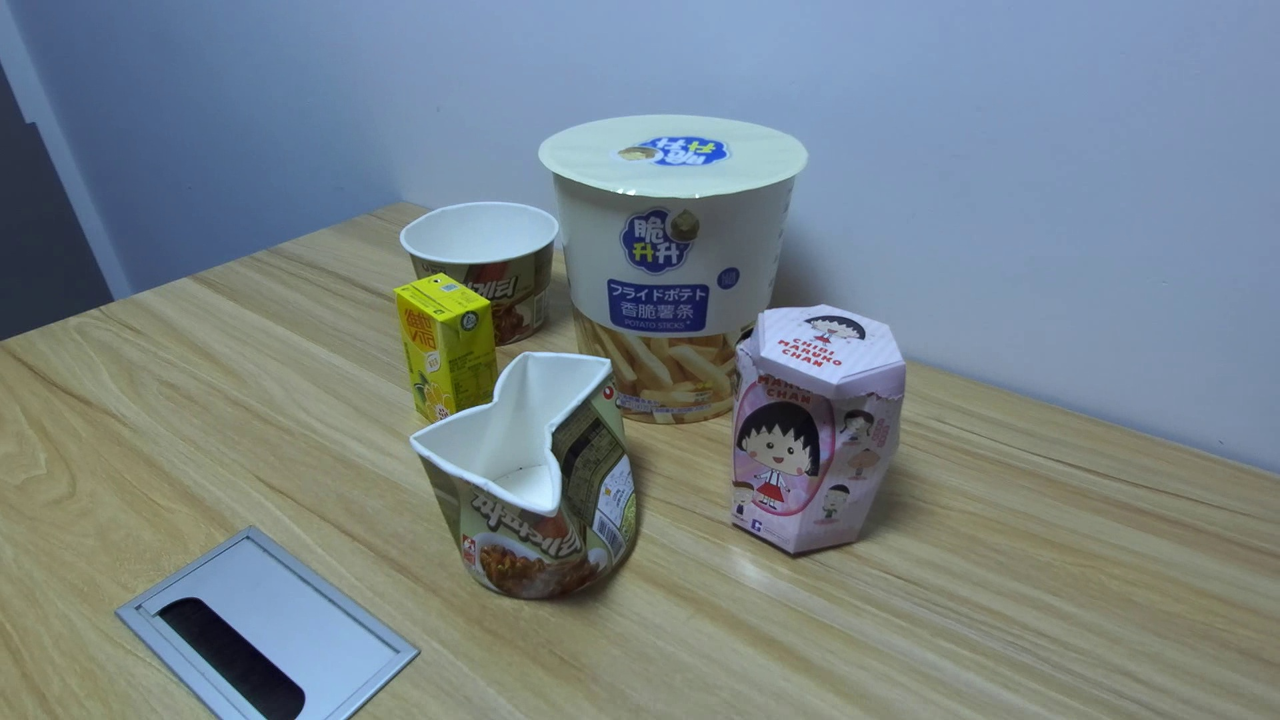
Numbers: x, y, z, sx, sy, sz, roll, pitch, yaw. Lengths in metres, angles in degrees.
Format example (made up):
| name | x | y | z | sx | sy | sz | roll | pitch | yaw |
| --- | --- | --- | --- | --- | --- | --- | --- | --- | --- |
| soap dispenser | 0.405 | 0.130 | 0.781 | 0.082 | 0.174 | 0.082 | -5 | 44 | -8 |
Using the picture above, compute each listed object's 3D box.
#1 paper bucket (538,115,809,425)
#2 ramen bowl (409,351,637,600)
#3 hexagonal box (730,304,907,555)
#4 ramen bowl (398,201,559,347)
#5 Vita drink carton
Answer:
| name | x | y | z | sx | sy | sz | roll | pitch | yaw |
| --- | --- | --- | --- | --- | --- | --- | --- | --- | --- |
| paper bucket | 0.024 | -0.069 | 0.550 | 0.198 | 0.195 | 0.198 | 0 | 33 | 0 |
| ramen bowl | -0.055 | 0.068 | 0.432 | 0.111 | 0.093 | 0.128 | 18 | 37 | 25 |
| hexagonal box | 0.104 | 0.042 | 0.437 | 0.090 | 0.134 | 0.091 | -4 | 32 | -12 |
| ramen bowl | -0.143 | -0.079 | 0.660 | 0.140 | 0.095 | 0.140 | 0 | 33 | 0 |
| Vita drink carton | -0.140 | -0.001 | 0.524 | 0.044 | 0.109 | 0.066 | -26 | 41 | -36 |
